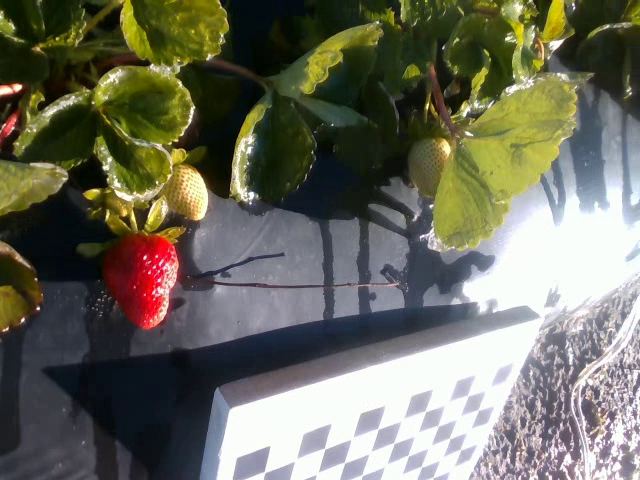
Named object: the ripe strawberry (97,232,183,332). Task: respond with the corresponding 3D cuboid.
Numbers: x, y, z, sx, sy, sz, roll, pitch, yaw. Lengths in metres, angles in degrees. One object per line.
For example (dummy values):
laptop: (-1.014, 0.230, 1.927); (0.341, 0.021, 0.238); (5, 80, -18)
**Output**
ripe strawberry: (-0.067, 0.020, 0.245); (0.039, 0.039, 0.040); (-9, -28, -20)
